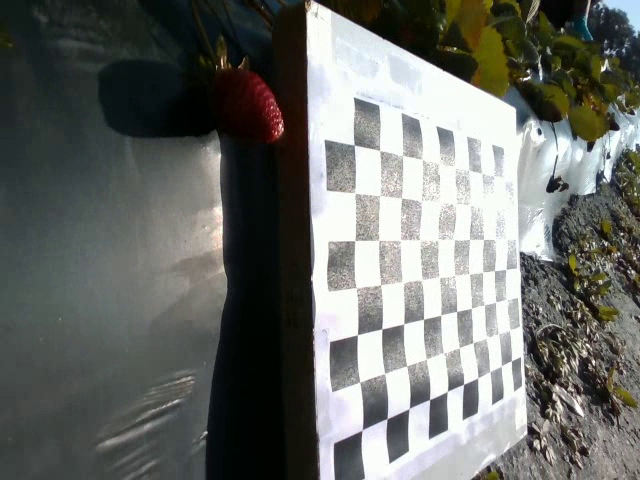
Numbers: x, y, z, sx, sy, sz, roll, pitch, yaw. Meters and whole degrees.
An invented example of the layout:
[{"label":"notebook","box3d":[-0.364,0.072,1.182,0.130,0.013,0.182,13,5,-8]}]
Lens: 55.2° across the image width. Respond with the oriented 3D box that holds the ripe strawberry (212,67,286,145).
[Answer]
[{"label":"ripe strawberry","box3d":[-0.025,-0.045,0.216,0.037,0.033,0.034,42,25,28]}]
